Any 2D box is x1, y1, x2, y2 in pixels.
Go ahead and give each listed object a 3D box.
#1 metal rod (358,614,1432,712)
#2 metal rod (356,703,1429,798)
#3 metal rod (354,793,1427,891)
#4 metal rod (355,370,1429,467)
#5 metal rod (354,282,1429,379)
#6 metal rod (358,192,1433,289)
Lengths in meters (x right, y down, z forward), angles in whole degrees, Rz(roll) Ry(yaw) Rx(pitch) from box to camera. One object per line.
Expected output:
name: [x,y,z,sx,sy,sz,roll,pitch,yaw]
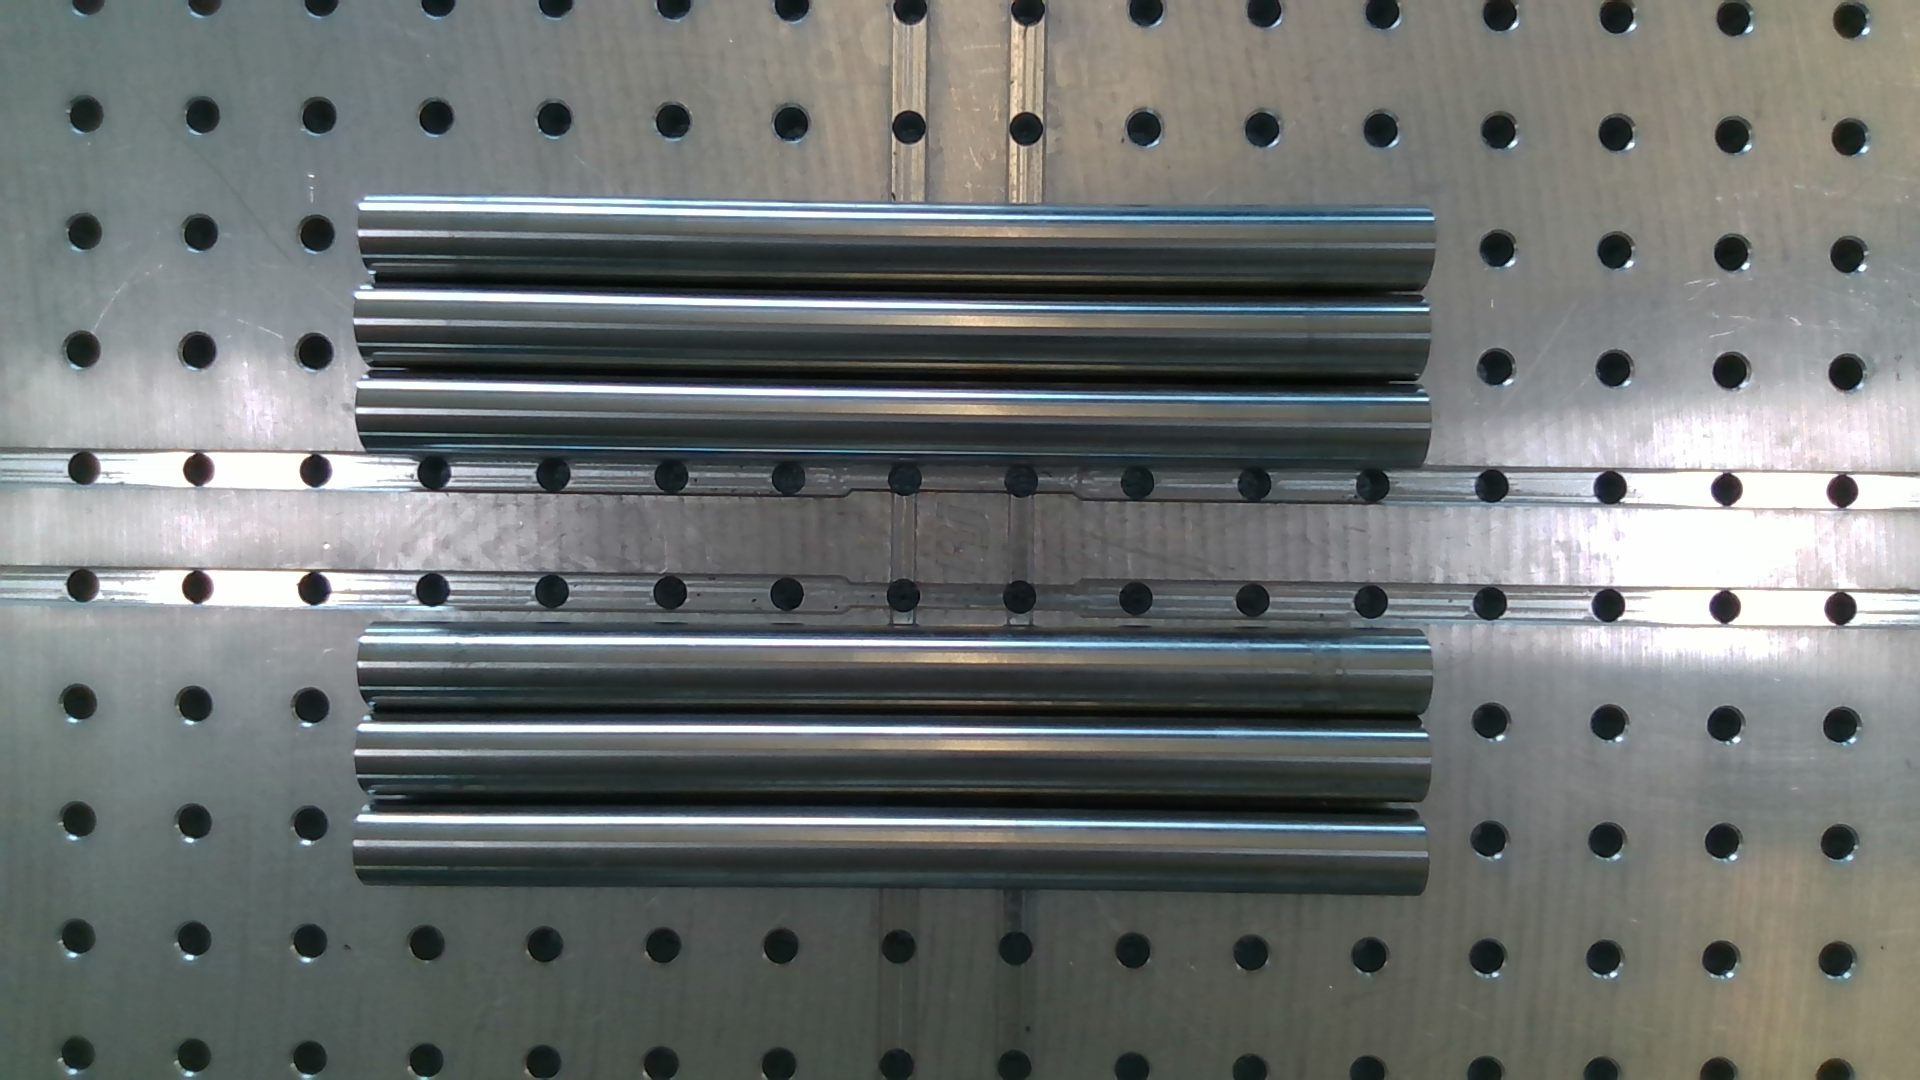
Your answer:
metal rod: [-0.018,0.036,0.397,0.300,0.025,0.025,1,90,0]
metal rod: [-0.019,0.060,0.397,0.300,0.025,0.025,1,90,0]
metal rod: [-0.019,0.087,0.397,0.300,0.025,0.025,1,90,0]
metal rod: [-0.019,-0.035,0.397,0.300,0.025,0.025,1,90,0]
metal rod: [-0.019,-0.060,0.397,0.300,0.025,0.025,1,90,0]
metal rod: [-0.018,-0.086,0.397,0.300,0.025,0.025,1,90,0]
